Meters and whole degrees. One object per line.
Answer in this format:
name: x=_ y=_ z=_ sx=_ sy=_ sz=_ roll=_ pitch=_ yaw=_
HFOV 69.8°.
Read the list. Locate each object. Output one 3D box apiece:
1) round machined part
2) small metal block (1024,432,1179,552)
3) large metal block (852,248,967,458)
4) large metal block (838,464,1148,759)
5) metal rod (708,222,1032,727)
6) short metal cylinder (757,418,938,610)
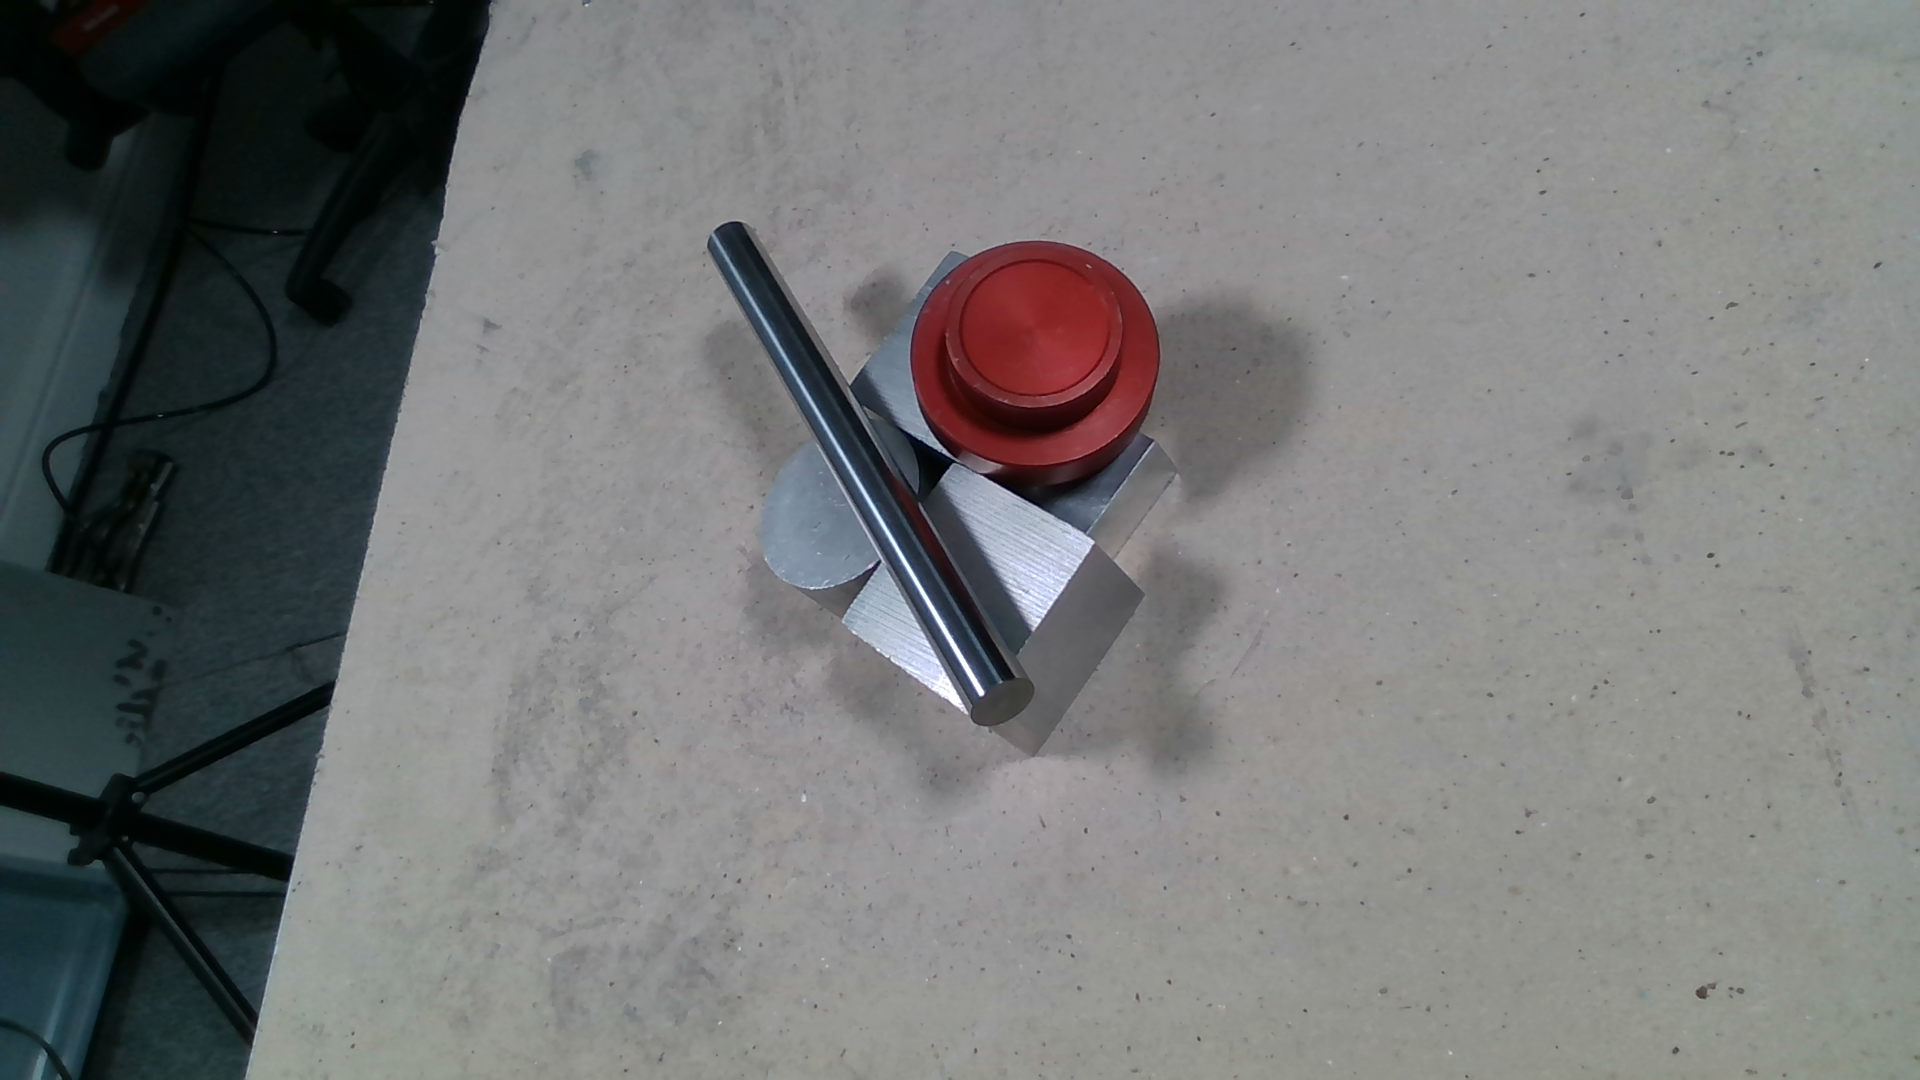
round machined part: x=0.029 y=-0.074 z=0.539 sx=0.098 sy=0.042 sz=0.098 roll=-1 pitch=73 yaw=2
small metal block: x=0.052 y=-0.025 z=0.566 sx=0.050 sy=0.025 sz=0.050 roll=34 pitch=86 yaw=39
large metal block: x=0.011 y=-0.069 z=0.598 sx=0.080 sy=0.050 sz=0.080 roll=33 pitch=85 yaw=39
large metal block: x=0.013 y=0.027 z=0.548 sx=0.080 sy=0.050 sz=0.080 roll=32 pitch=84 yaw=39
metal rod: x=-0.048 y=-0.043 z=0.573 sx=0.025 sy=0.025 sz=0.299 roll=-39 pitch=51 yaw=8
short metal cylinder: x=-0.041 y=-0.006 z=0.597 sx=0.080 sy=0.050 sz=0.080 roll=-14 pitch=59 yaw=25
